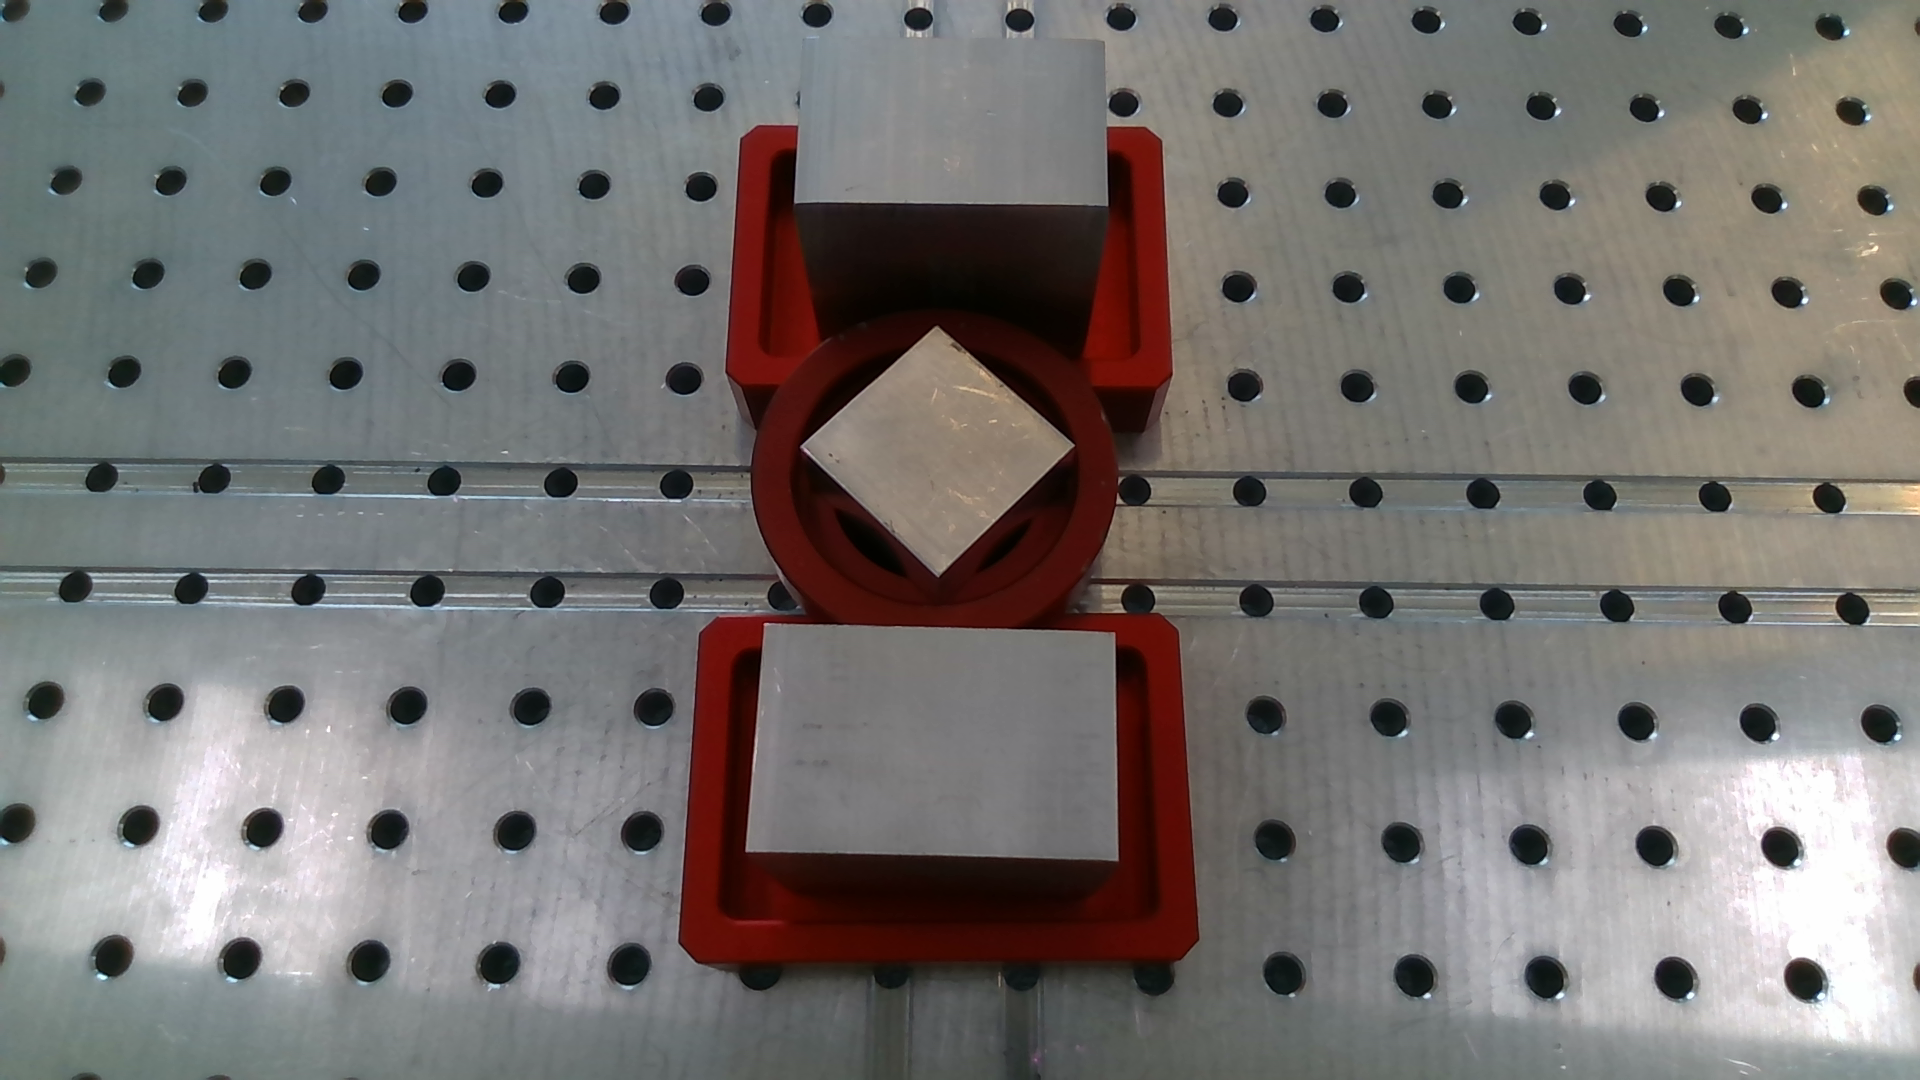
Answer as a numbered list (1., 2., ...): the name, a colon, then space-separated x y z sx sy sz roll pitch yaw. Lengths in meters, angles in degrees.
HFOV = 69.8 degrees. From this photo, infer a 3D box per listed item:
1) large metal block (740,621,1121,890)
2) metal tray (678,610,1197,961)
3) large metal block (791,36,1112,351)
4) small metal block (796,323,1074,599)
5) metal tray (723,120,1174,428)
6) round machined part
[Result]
1. large metal block: -0.006 0.056 0.335 0.080 0.080 0.050 1 70 1
2. metal tray: -0.006 0.066 0.371 0.130 0.030 0.090 0 70 0
3. large metal block: -0.002 -0.094 0.388 0.080 0.080 0.050 1 70 0
4. small metal block: -0.006 -0.020 0.362 0.050 0.025 0.050 43 76 14
5. metal tray: -0.003 -0.082 0.424 0.130 0.030 0.090 1 70 0
6. round machined part: -0.007 -0.012 0.384 0.098 0.042 0.098 0 70 0
